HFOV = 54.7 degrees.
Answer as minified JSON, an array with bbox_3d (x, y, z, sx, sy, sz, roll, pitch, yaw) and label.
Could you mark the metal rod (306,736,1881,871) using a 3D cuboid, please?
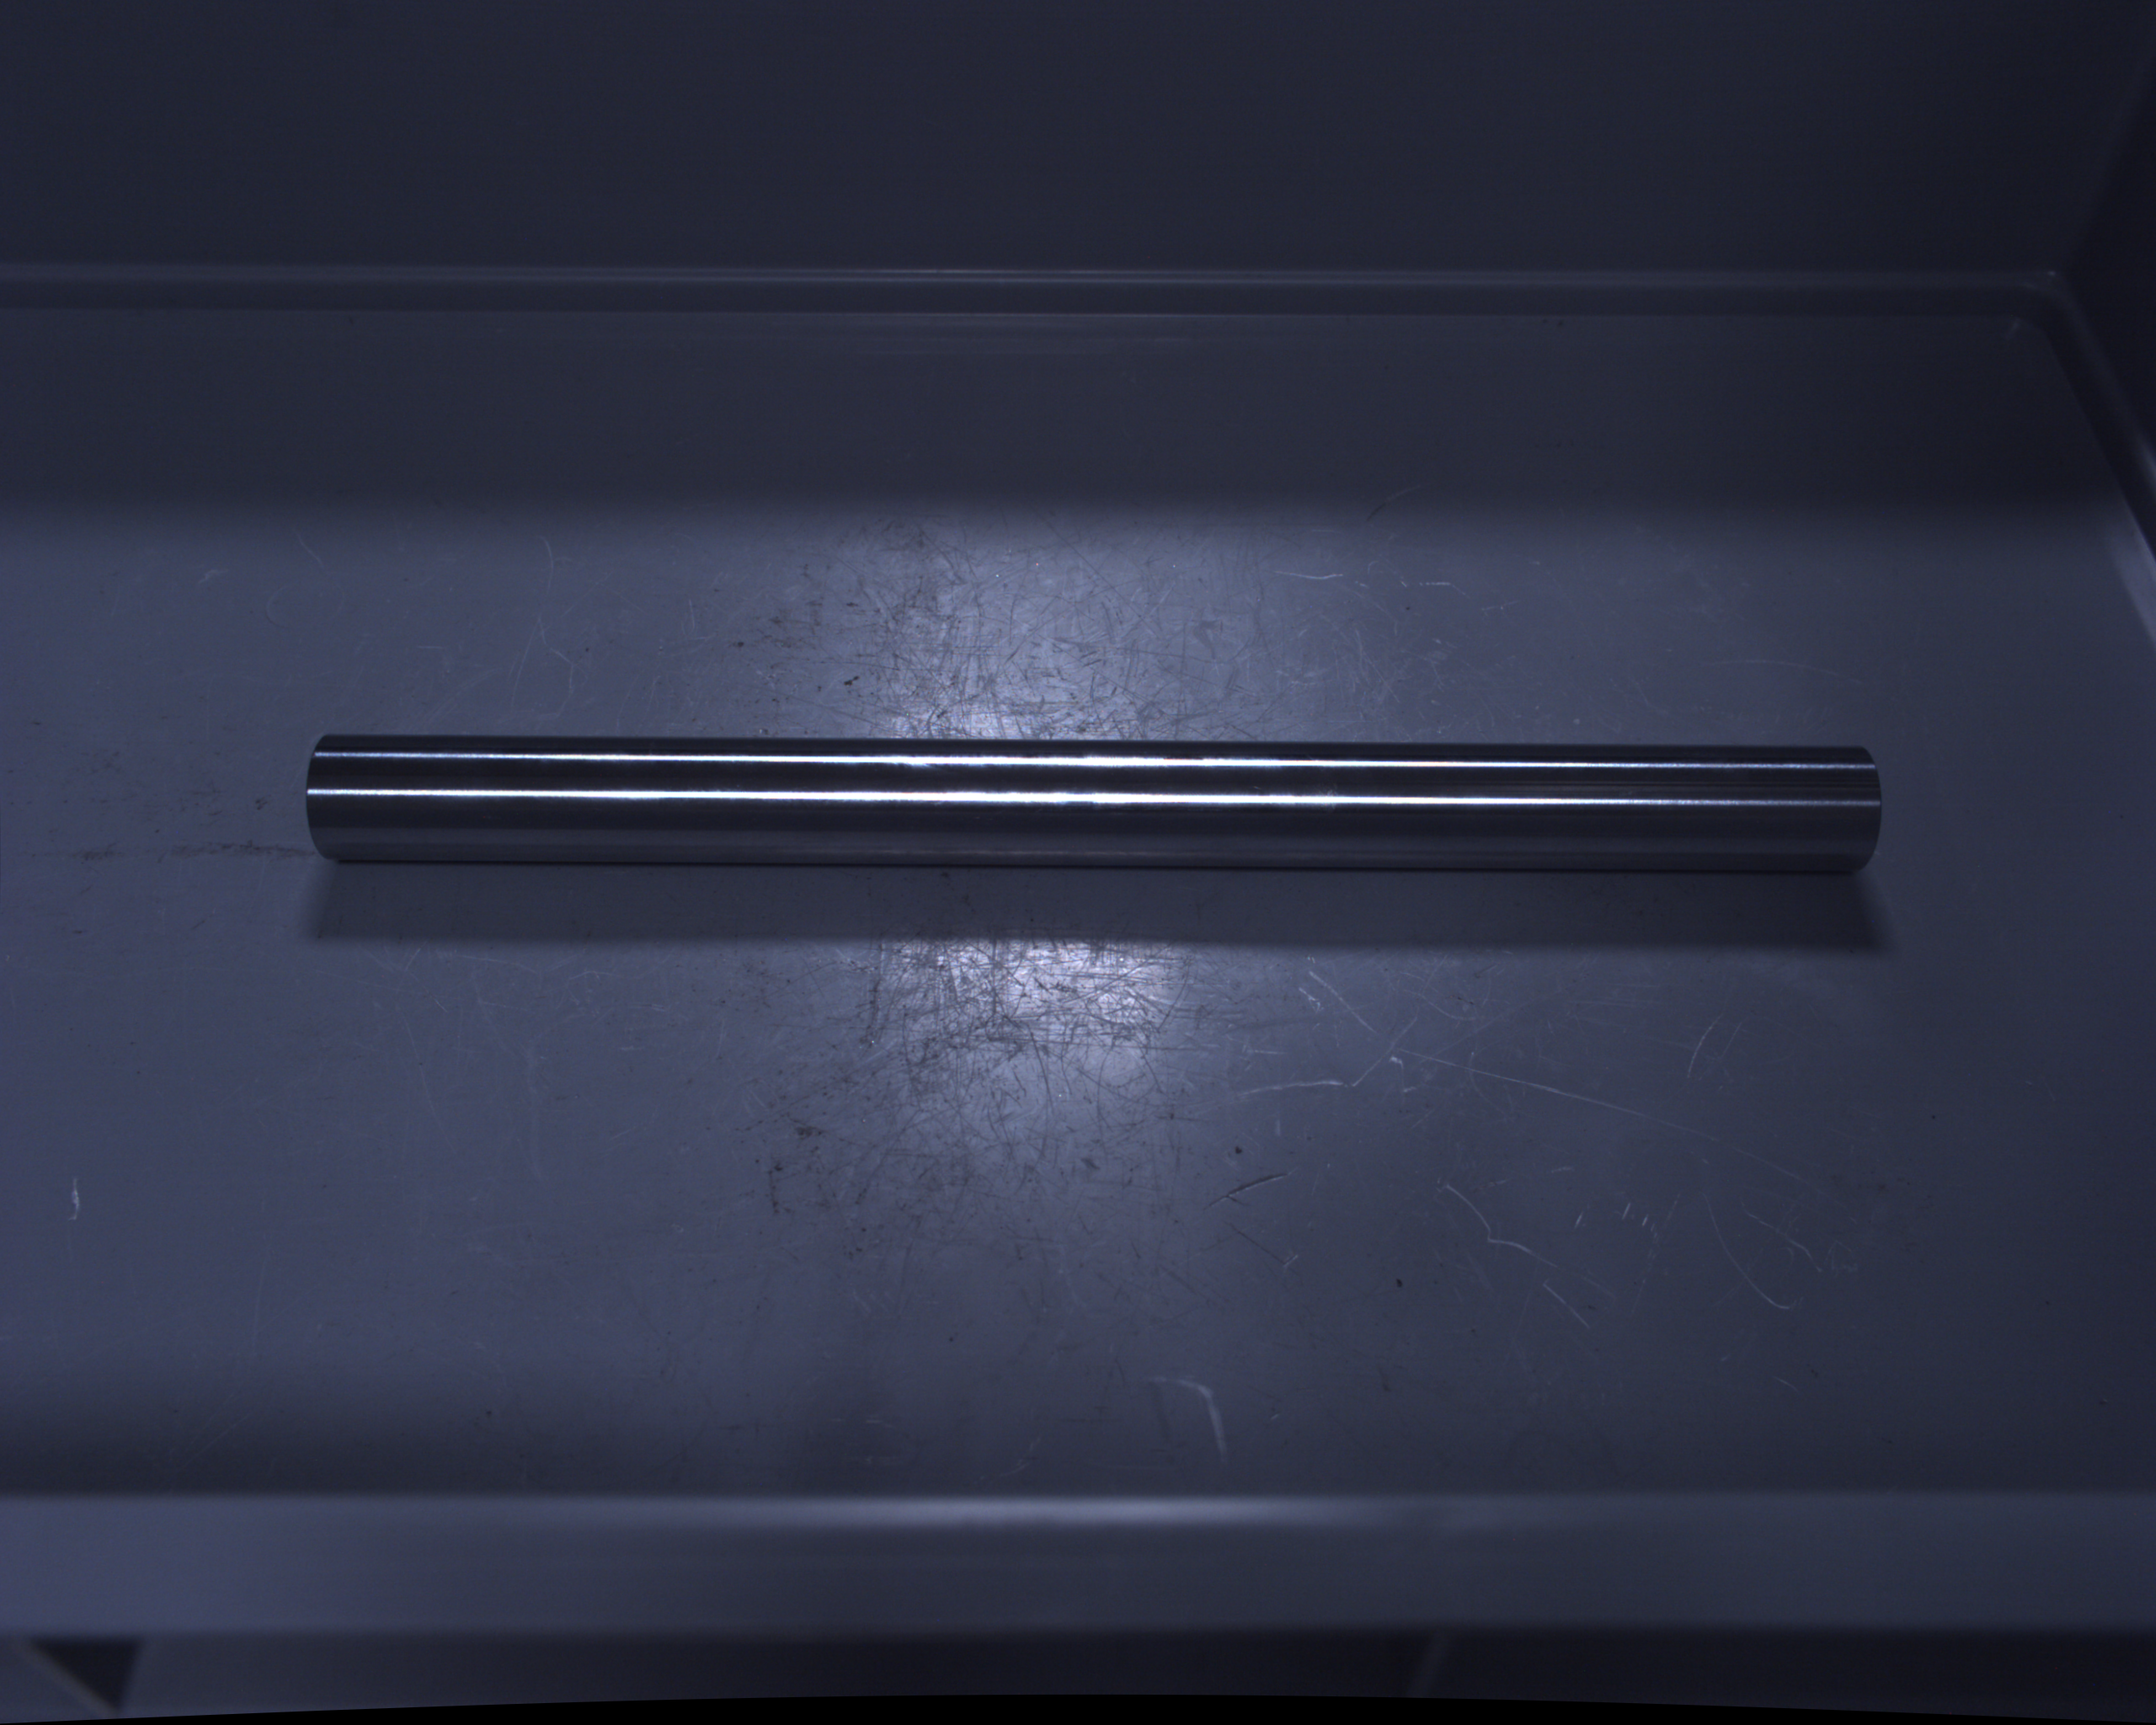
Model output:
[{"bbox_3d":[0.003,-0.012,0.412,0.302,0.025,0.025,0,50,0],"label":"metal rod"}]
